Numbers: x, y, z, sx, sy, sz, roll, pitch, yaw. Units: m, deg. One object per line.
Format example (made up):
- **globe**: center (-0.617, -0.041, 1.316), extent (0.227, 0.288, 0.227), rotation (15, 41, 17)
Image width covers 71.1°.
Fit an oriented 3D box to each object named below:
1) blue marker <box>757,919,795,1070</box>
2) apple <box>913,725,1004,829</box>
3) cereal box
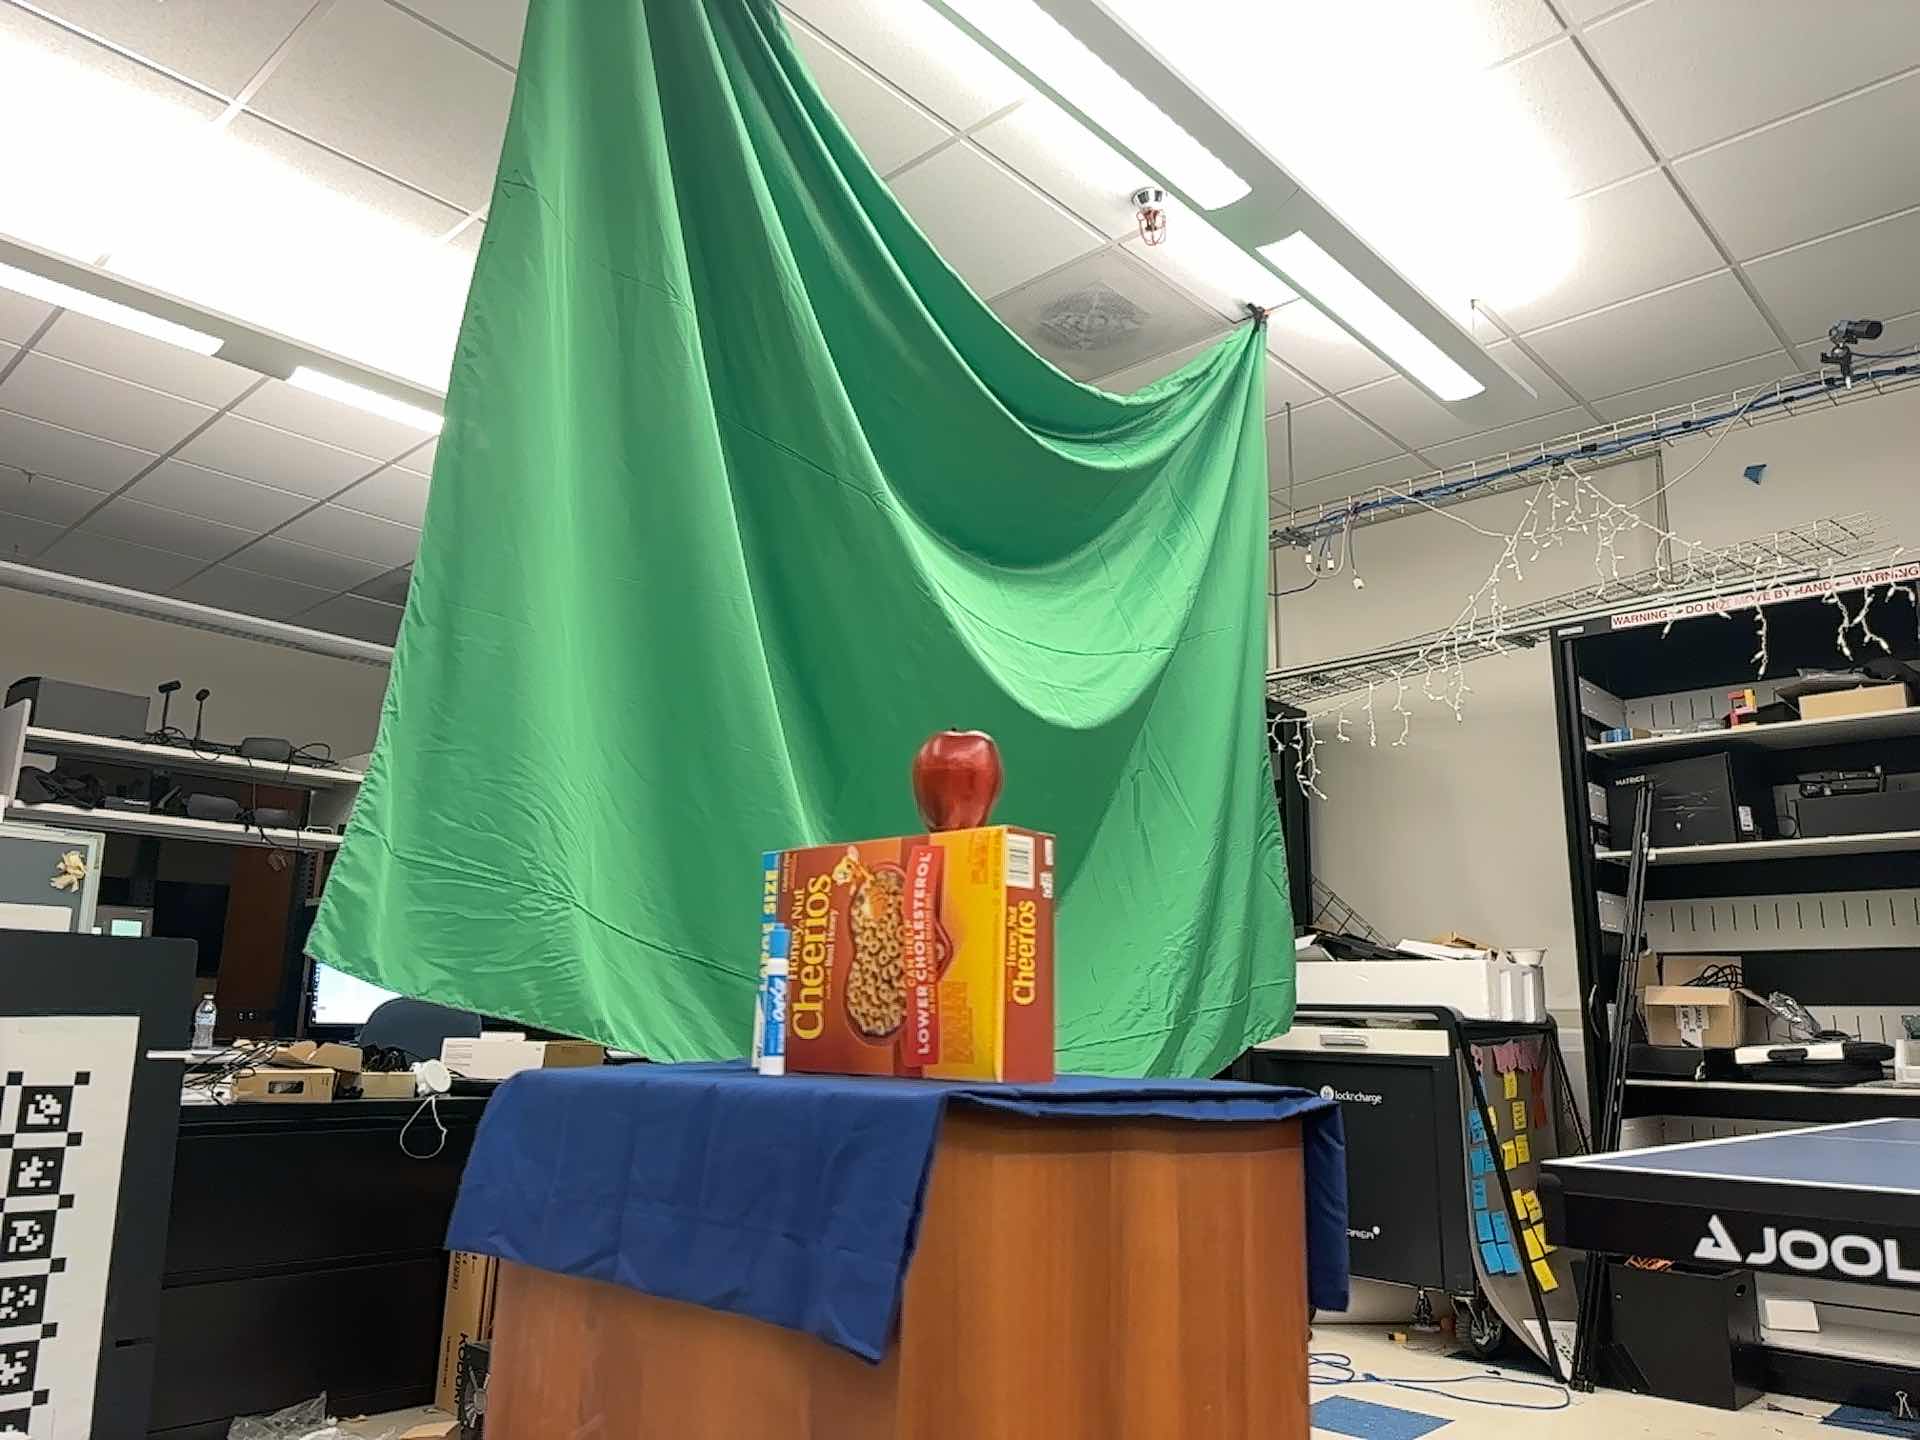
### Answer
- **blue marker**: center (-0.152, 0.226, 1.110), extent (0.020, 0.121, 0.020), rotation (4, -14, 1)
- **apple**: center (-0.003, 0.051, 1.145), extent (0.079, 0.093, 0.079), rotation (4, -11, 1)
- **cereal box**: center (-0.059, 0.201, 1.155), extent (0.297, 0.195, 0.065), rotation (-8, -19, 42)
